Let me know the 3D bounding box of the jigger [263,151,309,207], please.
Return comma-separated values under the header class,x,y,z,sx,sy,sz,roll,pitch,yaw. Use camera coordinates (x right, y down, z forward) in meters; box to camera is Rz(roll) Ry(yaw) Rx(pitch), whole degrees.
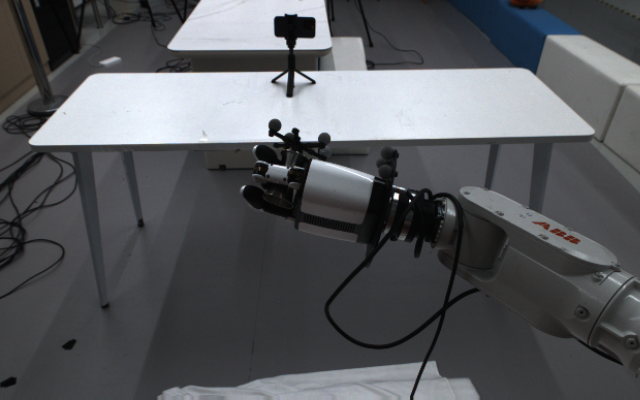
class,x,y,z,sx,sy,sz,roll,pitch,yaw
jigger,-0.042,-0.028,0.643,0.043,0.043,0.071,12,71,14
